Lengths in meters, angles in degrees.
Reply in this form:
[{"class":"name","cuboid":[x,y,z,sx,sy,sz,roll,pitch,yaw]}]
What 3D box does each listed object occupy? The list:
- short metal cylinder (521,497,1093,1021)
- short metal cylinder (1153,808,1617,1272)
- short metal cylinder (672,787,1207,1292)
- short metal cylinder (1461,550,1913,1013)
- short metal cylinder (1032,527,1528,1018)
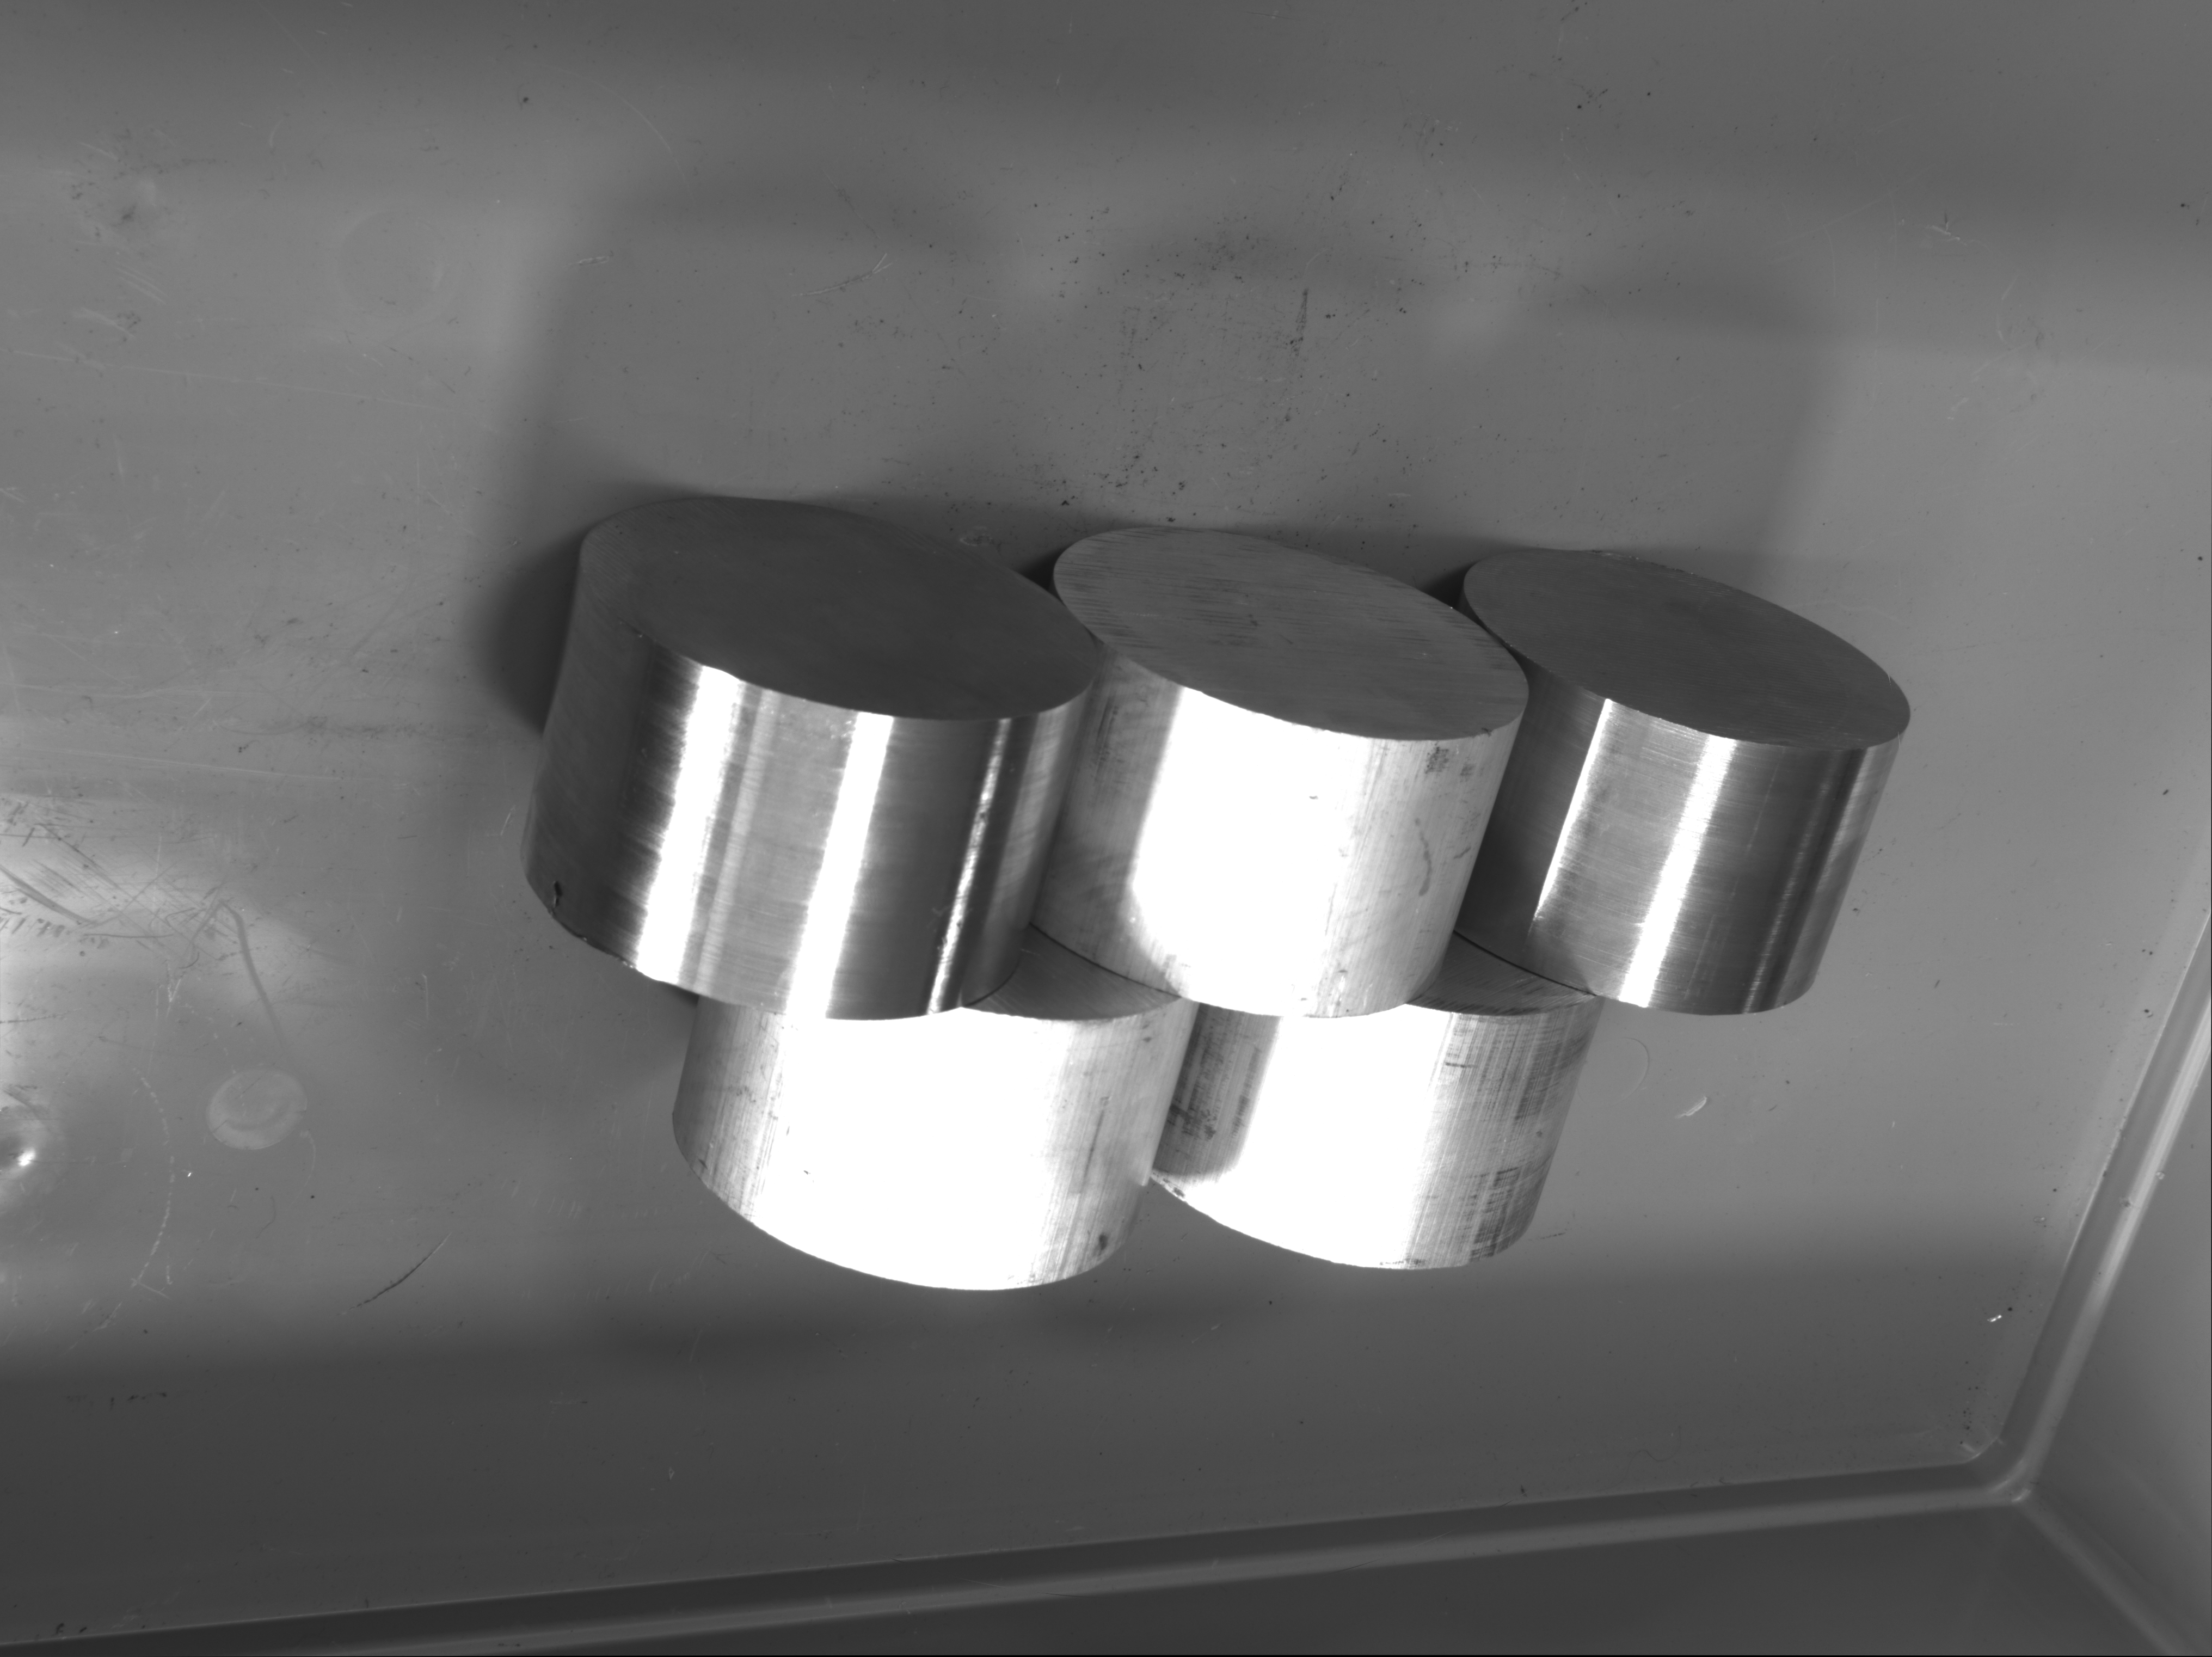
[{"class":"short metal cylinder","cuboid":[-0.047,-0.012,0.568,0.080,0.080,0.050,1,118,-28]},{"class":"short metal cylinder","cuboid":[0.044,0.034,0.645,0.080,0.080,0.050,1,118,-28]},{"class":"short metal cylinder","cuboid":[-0.028,0.033,0.605,0.080,0.080,0.050,1,118,-28]},{"class":"short metal cylinder","cuboid":[0.095,-0.010,0.646,0.080,0.080,0.050,2,117,-29]},{"class":"short metal cylinder","cuboid":[0.024,-0.011,0.607,0.080,0.080,0.050,1,118,-28]}]
